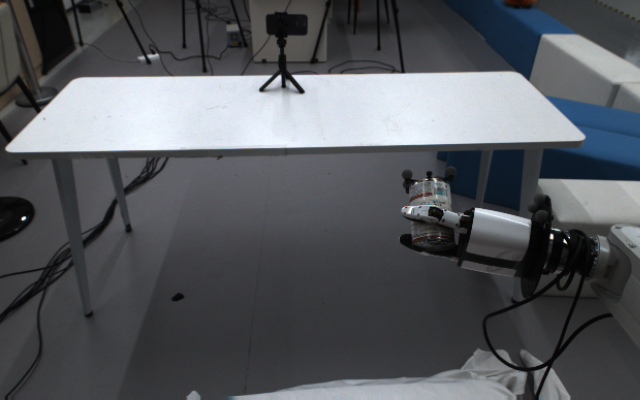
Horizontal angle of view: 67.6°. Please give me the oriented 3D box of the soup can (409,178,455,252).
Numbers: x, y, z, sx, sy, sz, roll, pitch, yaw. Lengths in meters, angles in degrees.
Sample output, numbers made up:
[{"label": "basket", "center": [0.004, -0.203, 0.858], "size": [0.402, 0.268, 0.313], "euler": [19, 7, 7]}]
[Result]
[{"label": "soup can", "center": [0.179, 0.024, 0.773], "size": [0.067, 0.067, 0.101], "euler": [2, 68, 0]}]
